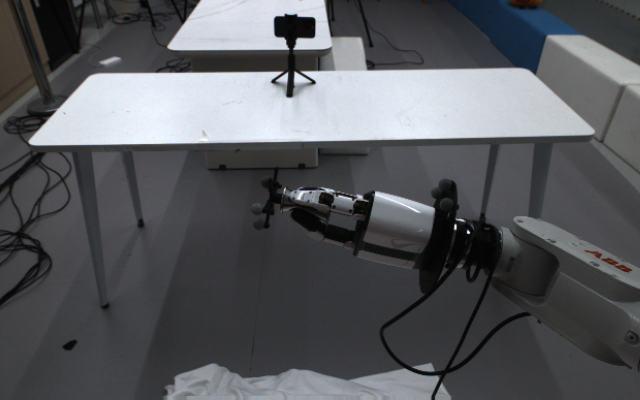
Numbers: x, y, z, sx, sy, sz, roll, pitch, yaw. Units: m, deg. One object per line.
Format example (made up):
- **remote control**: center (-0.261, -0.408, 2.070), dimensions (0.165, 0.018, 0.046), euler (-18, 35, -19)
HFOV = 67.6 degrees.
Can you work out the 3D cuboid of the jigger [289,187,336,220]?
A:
- **jigger**: center (-0.011, 0.002, 0.674), dimensions (0.071, 0.043, 0.043), euler (11, 35, 3)
